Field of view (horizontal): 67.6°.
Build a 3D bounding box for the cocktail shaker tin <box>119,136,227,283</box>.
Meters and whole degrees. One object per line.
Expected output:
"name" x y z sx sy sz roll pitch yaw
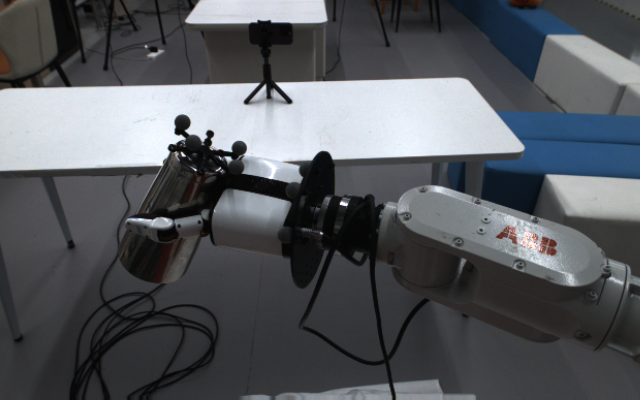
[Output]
"cocktail shaker tin" -0.174 0.009 0.591 0.093 0.170 0.093 26 32 -18
